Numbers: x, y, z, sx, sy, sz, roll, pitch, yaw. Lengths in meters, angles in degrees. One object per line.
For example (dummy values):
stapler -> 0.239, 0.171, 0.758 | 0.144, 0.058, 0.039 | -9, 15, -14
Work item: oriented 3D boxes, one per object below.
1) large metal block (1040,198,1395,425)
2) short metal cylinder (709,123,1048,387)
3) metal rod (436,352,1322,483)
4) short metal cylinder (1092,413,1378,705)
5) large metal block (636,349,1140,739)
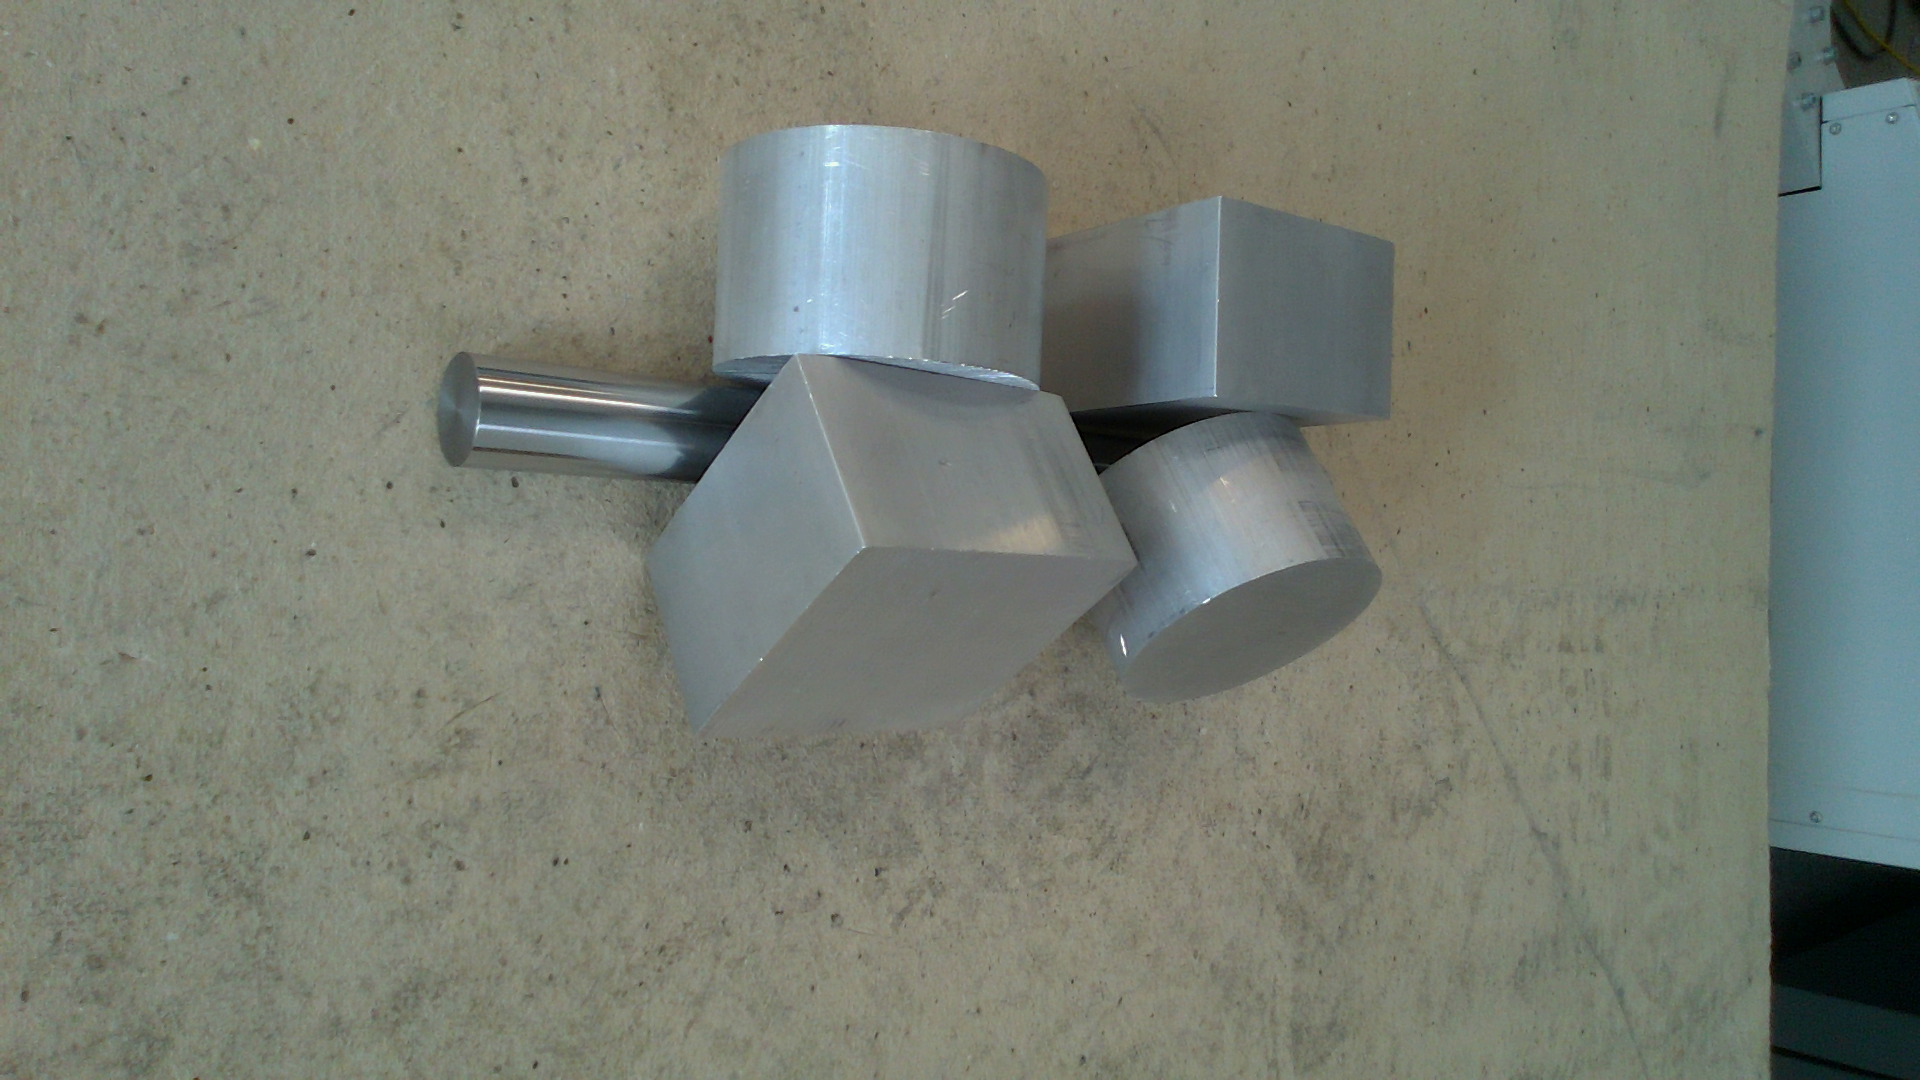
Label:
large metal block -> 0.072, -0.063, 0.413 | 0.080, 0.080, 0.050 | 2, 89, -40
short metal cylinder -> -0.020, -0.064, 0.336 | 0.080, 0.080, 0.050 | 4, 87, -40
metal rod -> 0.006, -0.022, 0.396 | 0.301, 0.025, 0.025 | 3, 88, -40
short metal cylinder -> 0.075, 0.007, 0.408 | 0.080, 0.080, 0.050 | 2, 54, -40
large metal block -> -0.019, 0.004, 0.330 | 0.080, 0.080, 0.050 | 3, 54, -40
